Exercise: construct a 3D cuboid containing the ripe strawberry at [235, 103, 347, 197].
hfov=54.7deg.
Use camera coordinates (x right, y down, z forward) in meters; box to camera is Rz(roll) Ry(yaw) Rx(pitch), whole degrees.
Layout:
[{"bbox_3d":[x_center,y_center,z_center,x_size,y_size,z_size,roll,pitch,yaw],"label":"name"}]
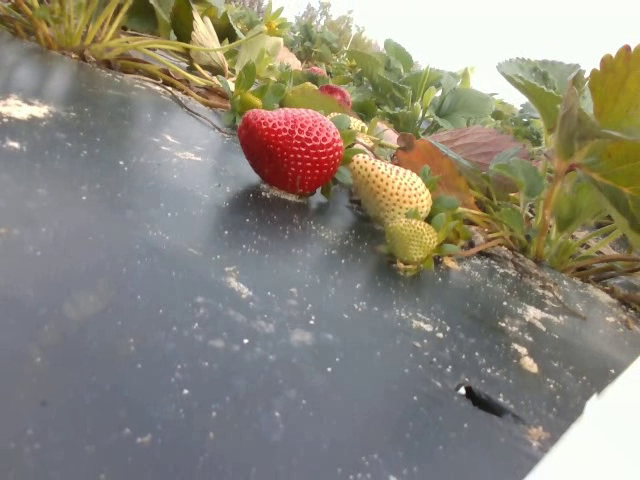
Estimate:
[{"bbox_3d":[-0.014,-0.041,0.252,0.050,0.034,0.059,29,5,22],"label":"ripe strawberry"}]
